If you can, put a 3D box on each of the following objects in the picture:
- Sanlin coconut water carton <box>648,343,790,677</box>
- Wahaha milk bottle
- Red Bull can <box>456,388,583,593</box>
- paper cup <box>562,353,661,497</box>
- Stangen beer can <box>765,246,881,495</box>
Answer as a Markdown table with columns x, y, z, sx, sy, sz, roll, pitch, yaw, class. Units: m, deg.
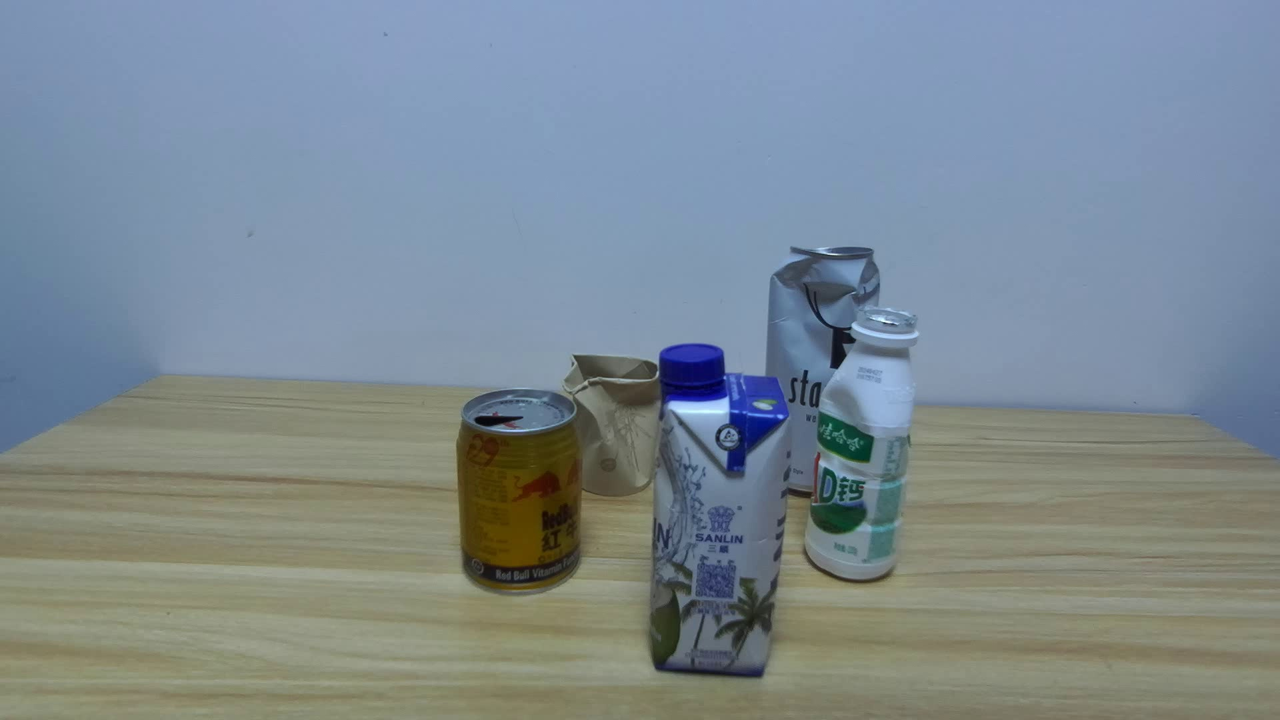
| x | y | z | sx | sy | sz | roll | pitch | yaw | class |
| --- | --- | --- | --- | --- | --- | --- | --- | --- | --- |
| 0.036 | 0.073 | 0.336 | 0.061 | 0.144 | 0.060 | 4 | 8 | 1 | Sanlin coconut water carton |
| 0.125 | 0.046 | 0.383 | 0.055 | 0.149 | 0.055 | 4 | 18 | -1 | Wahaha milk bottle |
| -0.064 | 0.069 | 0.381 | 0.067 | 0.093 | 0.067 | 3 | 18 | -1 | Red Bull can |
| -0.019 | 0.045 | 0.473 | 0.066 | 0.083 | 0.058 | 2 | 21 | 11 | paper cup |
| 0.120 | 0.008 | 0.473 | 0.065 | 0.166 | 0.066 | 10 | 15 | 33 | Stangen beer can |
